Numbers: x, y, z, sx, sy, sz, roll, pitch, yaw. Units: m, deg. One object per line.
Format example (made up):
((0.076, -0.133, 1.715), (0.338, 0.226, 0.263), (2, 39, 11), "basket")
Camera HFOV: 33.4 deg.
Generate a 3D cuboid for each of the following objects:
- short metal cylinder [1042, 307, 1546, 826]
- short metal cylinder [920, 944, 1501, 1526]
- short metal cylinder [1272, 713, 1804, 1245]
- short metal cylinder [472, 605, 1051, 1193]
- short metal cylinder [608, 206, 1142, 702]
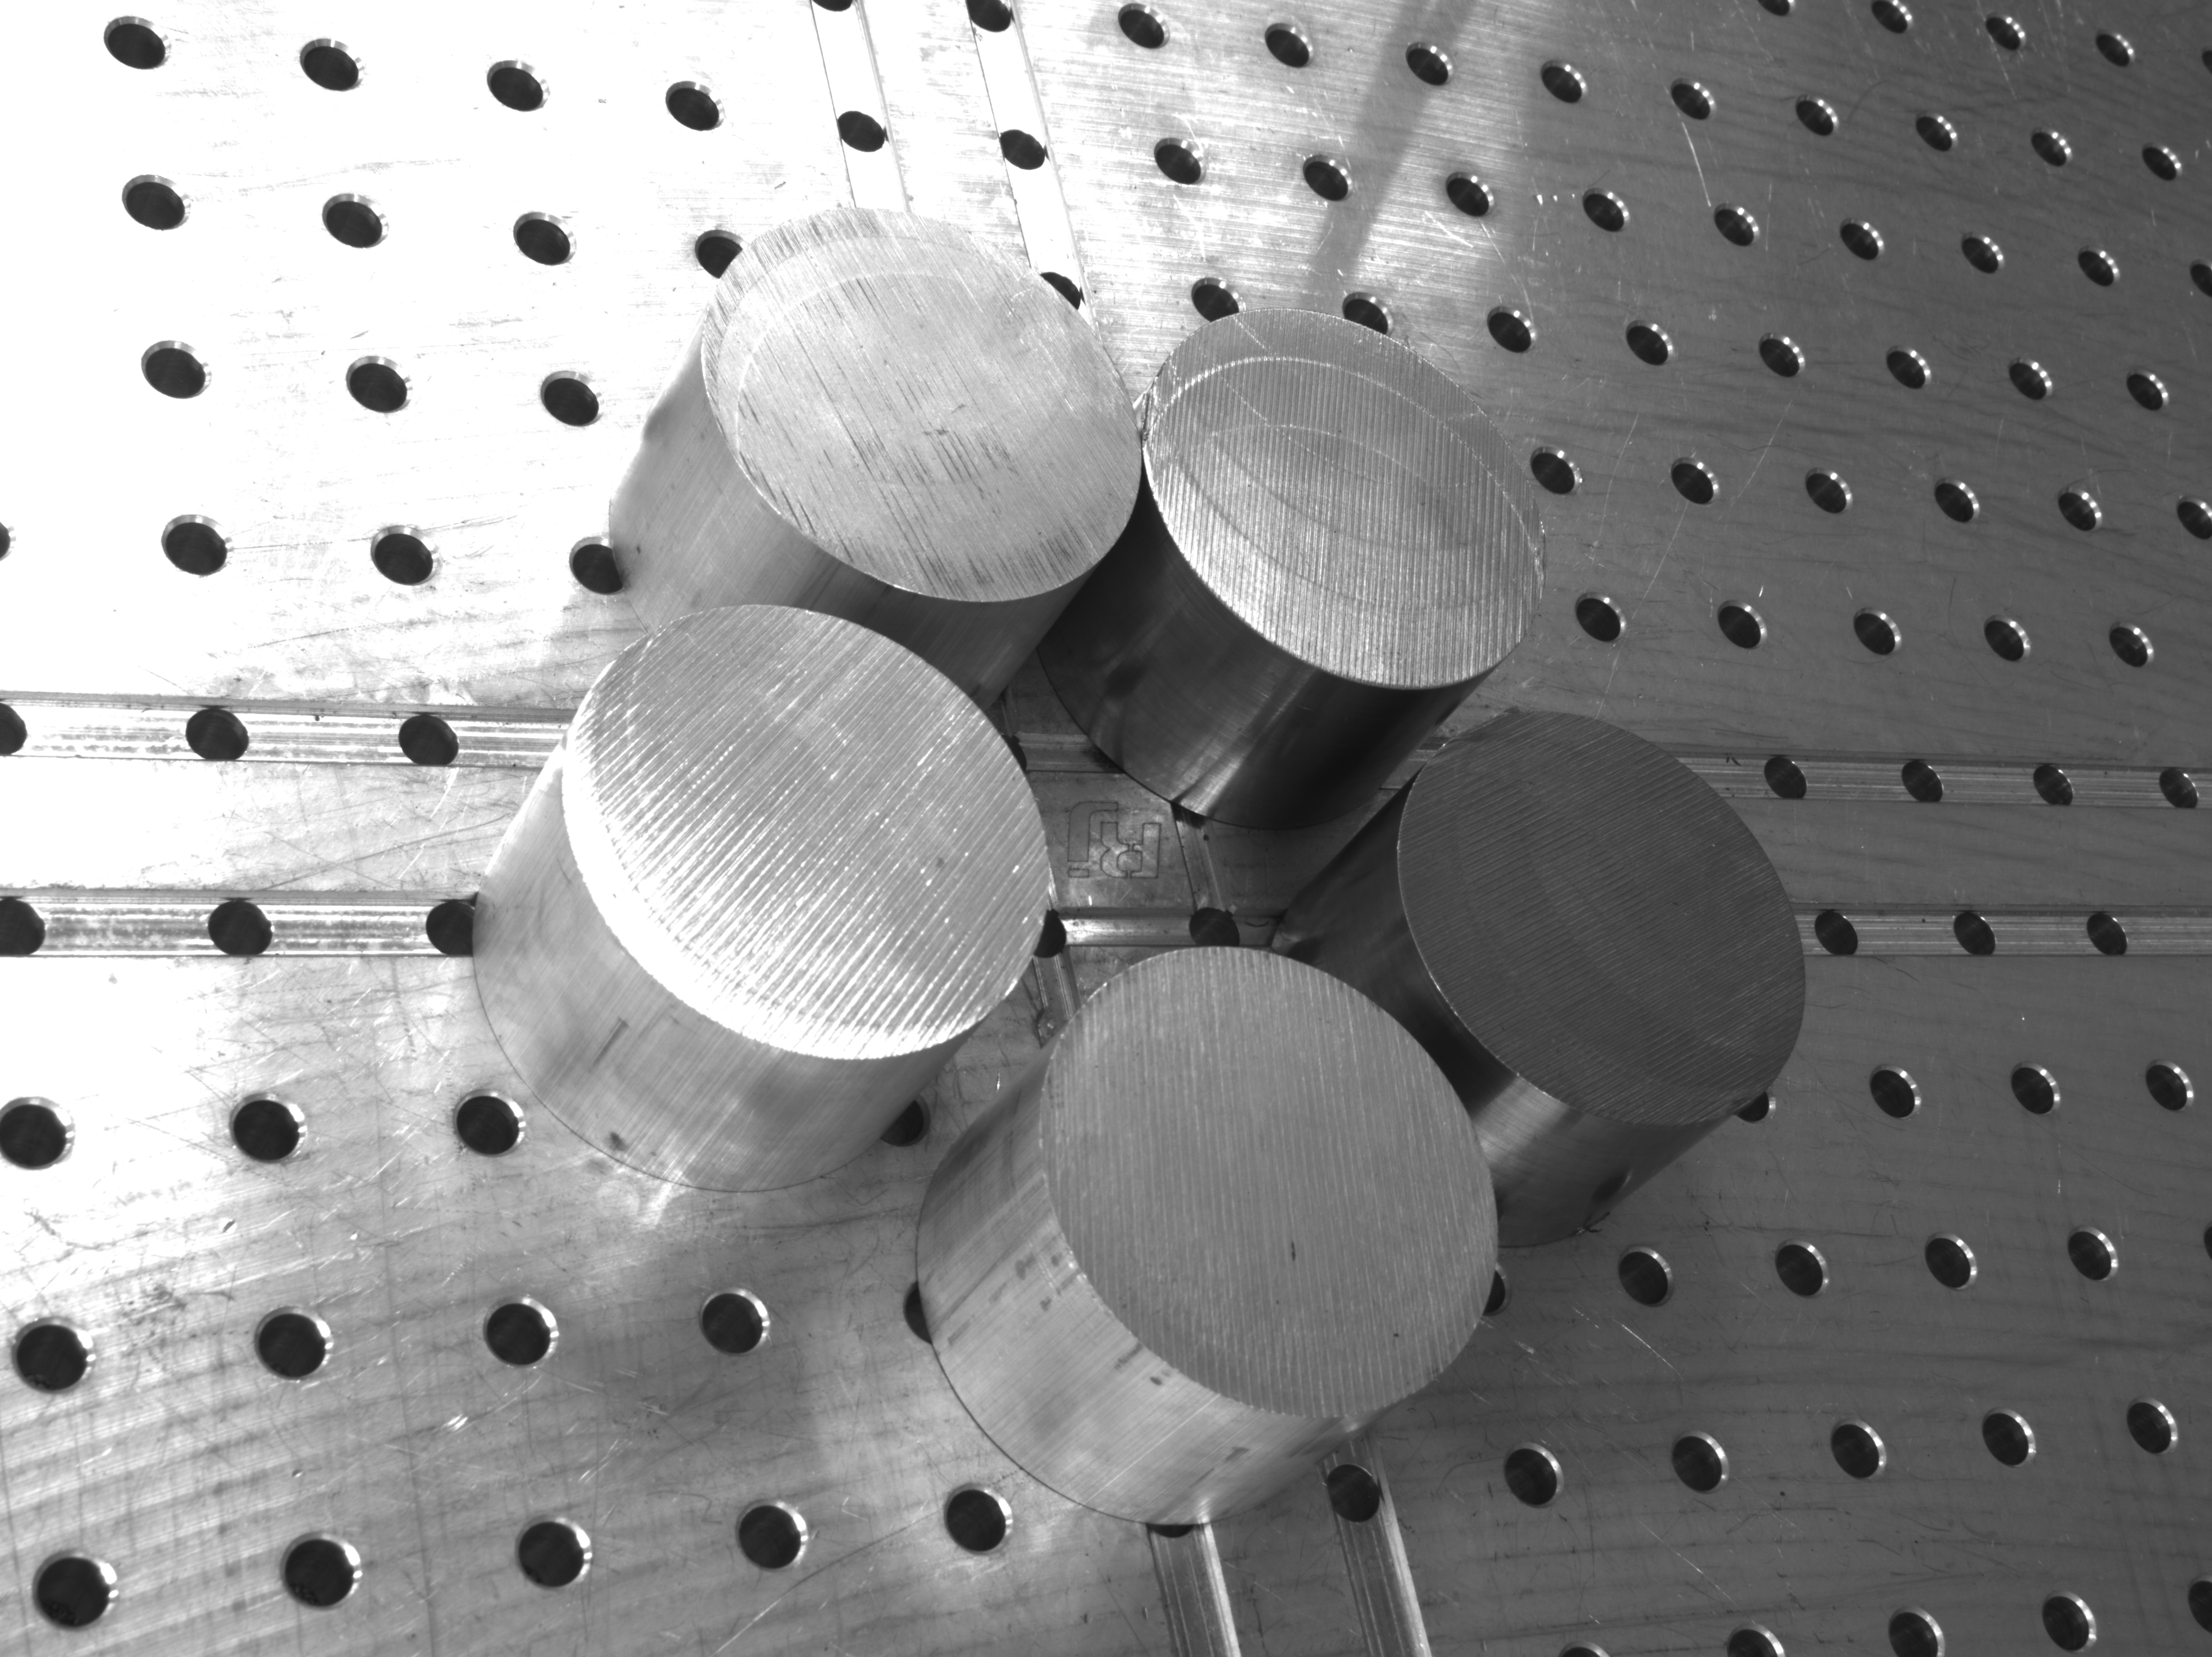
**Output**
((0.033, -0.048, 0.672), (0.080, 0.050, 0.080), (13, 56, -21), "short metal cylinder")
((0.016, 0.066, 0.594), (0.080, 0.050, 0.080), (13, 56, -20), "short metal cylinder")
((0.075, 0.027, 0.650), (0.080, 0.050, 0.080), (13, 57, -21), "short metal cylinder")
((-0.055, 0.012, 0.590), (0.080, 0.050, 0.080), (13, 56, -21), "short metal cylinder")
((-0.041, -0.061, 0.642), (0.080, 0.050, 0.080), (14, 56, -21), "short metal cylinder")
